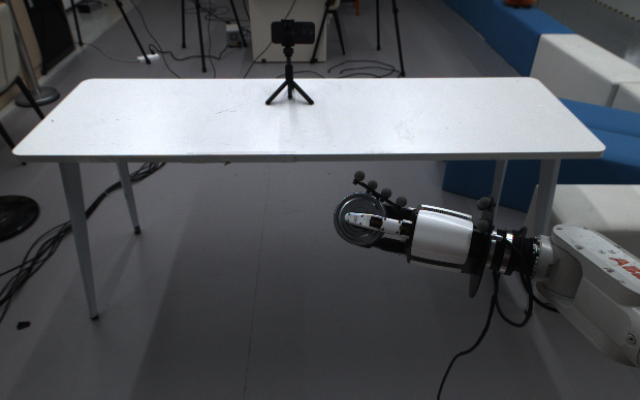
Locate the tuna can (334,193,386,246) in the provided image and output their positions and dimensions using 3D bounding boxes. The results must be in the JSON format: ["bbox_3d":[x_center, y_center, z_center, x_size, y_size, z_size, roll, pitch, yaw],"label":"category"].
[{"bbox_3d":[0.069,0.037,0.774,0.085,0.085,0.034,13,-4,15],"label":"tuna can"}]
